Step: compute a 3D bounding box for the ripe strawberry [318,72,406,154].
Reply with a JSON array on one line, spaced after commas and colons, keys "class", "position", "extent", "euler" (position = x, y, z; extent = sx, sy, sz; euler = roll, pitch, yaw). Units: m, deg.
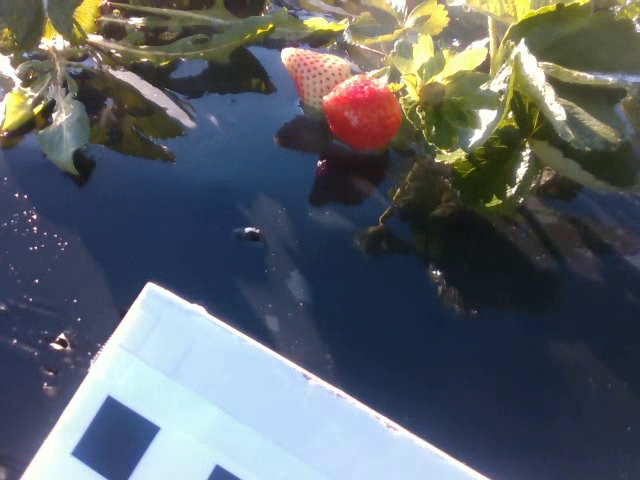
[{"class": "ripe strawberry", "position": [0.016, -0.063, 0.290], "extent": [0.040, 0.038, 0.055], "euler": [2, -14, 35]}]
